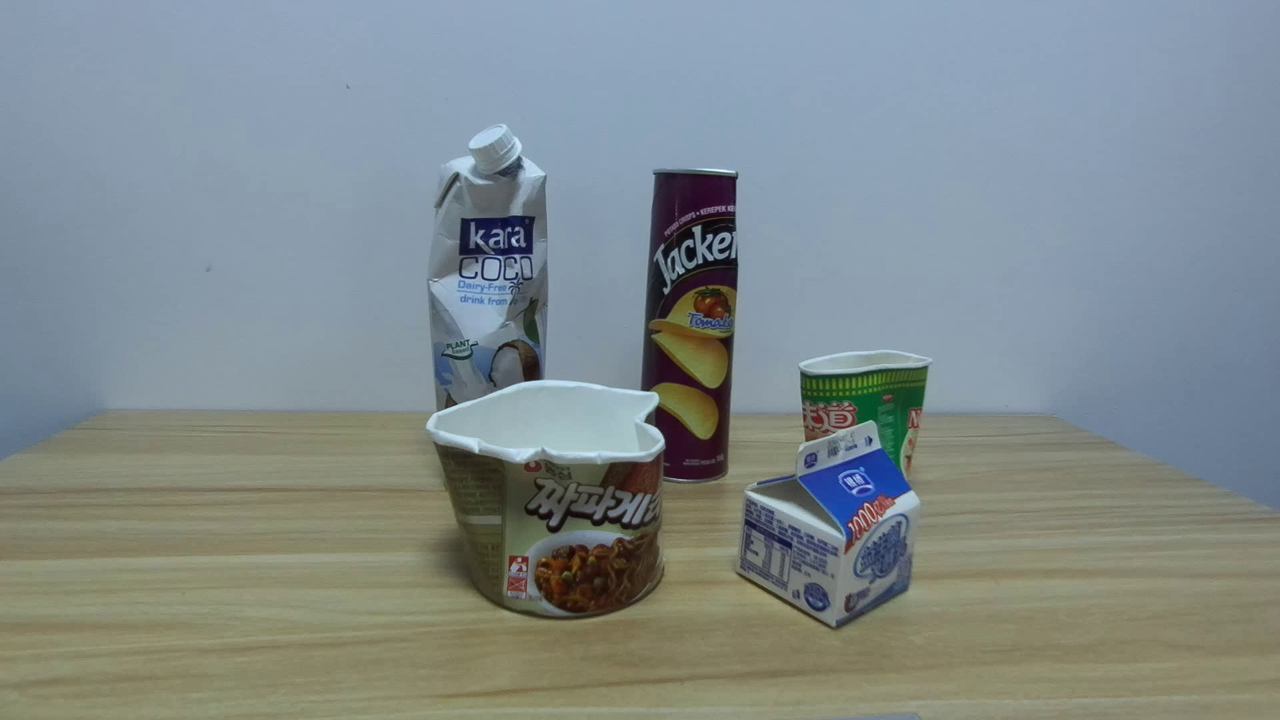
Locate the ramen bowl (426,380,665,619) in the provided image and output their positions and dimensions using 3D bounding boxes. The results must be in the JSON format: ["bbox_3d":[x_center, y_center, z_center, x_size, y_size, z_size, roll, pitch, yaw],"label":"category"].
[{"bbox_3d":[-0.050,0.073,0.400,0.134,0.097,0.113,3,14,-5],"label":"ramen bowl"}]

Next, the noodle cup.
[{"bbox_3d":[0.160,0.050,0.515,0.115,0.111,0.070,0,14,-13],"label":"noodle cup"}]

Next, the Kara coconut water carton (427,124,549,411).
[{"bbox_3d":[-0.110,-0.036,0.514,0.083,0.255,0.078,2,15,-3],"label":"Kara coconut water carton"}]

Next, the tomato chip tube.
[{"bbox_3d":[0.040,-0.027,0.555,0.076,0.235,0.078,5,11,13],"label":"tomato chip tube"}]

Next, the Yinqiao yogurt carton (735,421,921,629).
[{"bbox_3d":[0.107,0.083,0.398,0.076,0.092,0.073,-9,17,-38],"label":"Yinqiao yogurt carton"}]
